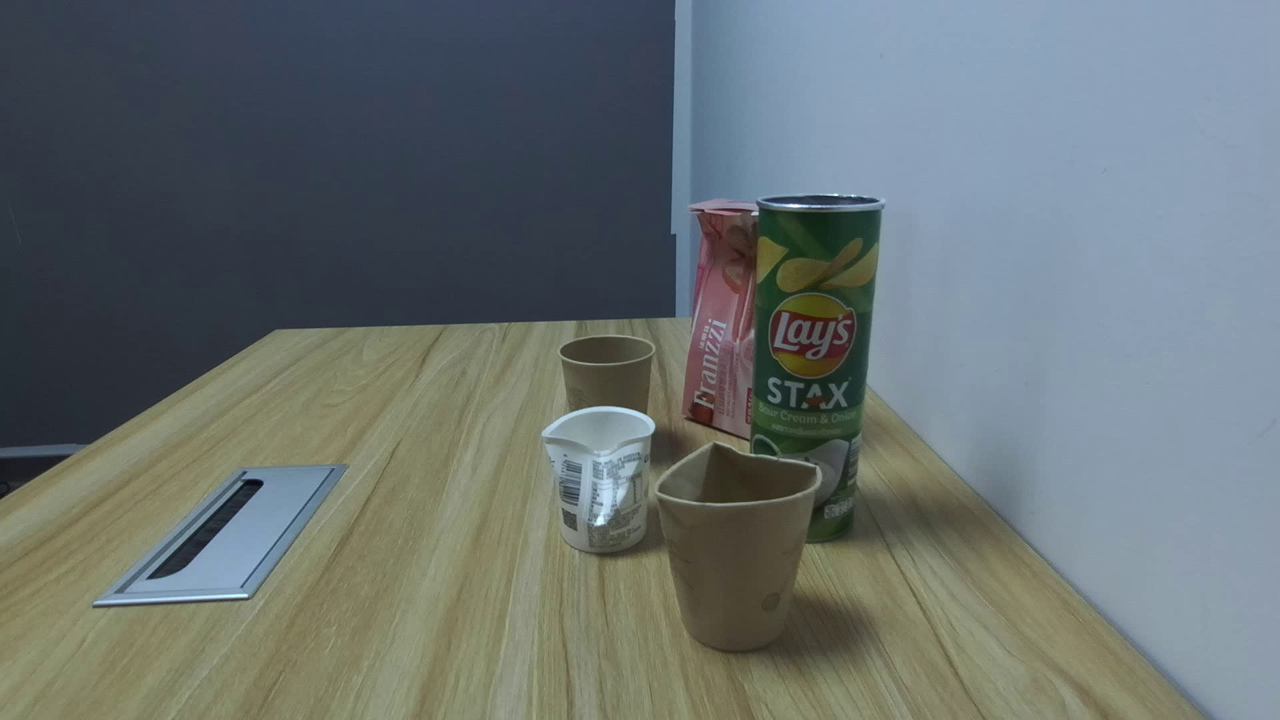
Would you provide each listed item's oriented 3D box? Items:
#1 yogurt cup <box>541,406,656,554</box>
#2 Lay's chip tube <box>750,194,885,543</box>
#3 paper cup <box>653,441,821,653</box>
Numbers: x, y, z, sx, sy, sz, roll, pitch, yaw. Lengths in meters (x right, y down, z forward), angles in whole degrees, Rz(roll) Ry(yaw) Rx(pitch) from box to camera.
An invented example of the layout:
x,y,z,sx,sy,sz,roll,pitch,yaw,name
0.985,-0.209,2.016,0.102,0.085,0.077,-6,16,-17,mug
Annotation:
x,y,z,sx,sy,sz,roll,pitch,yaw,name
-0.022,0.073,0.434,0.067,0.070,0.067,-5,18,2,yogurt cup
0.102,0.005,0.423,0.071,0.202,0.071,-1,19,1,Lay's chip tube
0.046,0.092,0.342,0.071,0.084,0.066,10,21,30,paper cup
